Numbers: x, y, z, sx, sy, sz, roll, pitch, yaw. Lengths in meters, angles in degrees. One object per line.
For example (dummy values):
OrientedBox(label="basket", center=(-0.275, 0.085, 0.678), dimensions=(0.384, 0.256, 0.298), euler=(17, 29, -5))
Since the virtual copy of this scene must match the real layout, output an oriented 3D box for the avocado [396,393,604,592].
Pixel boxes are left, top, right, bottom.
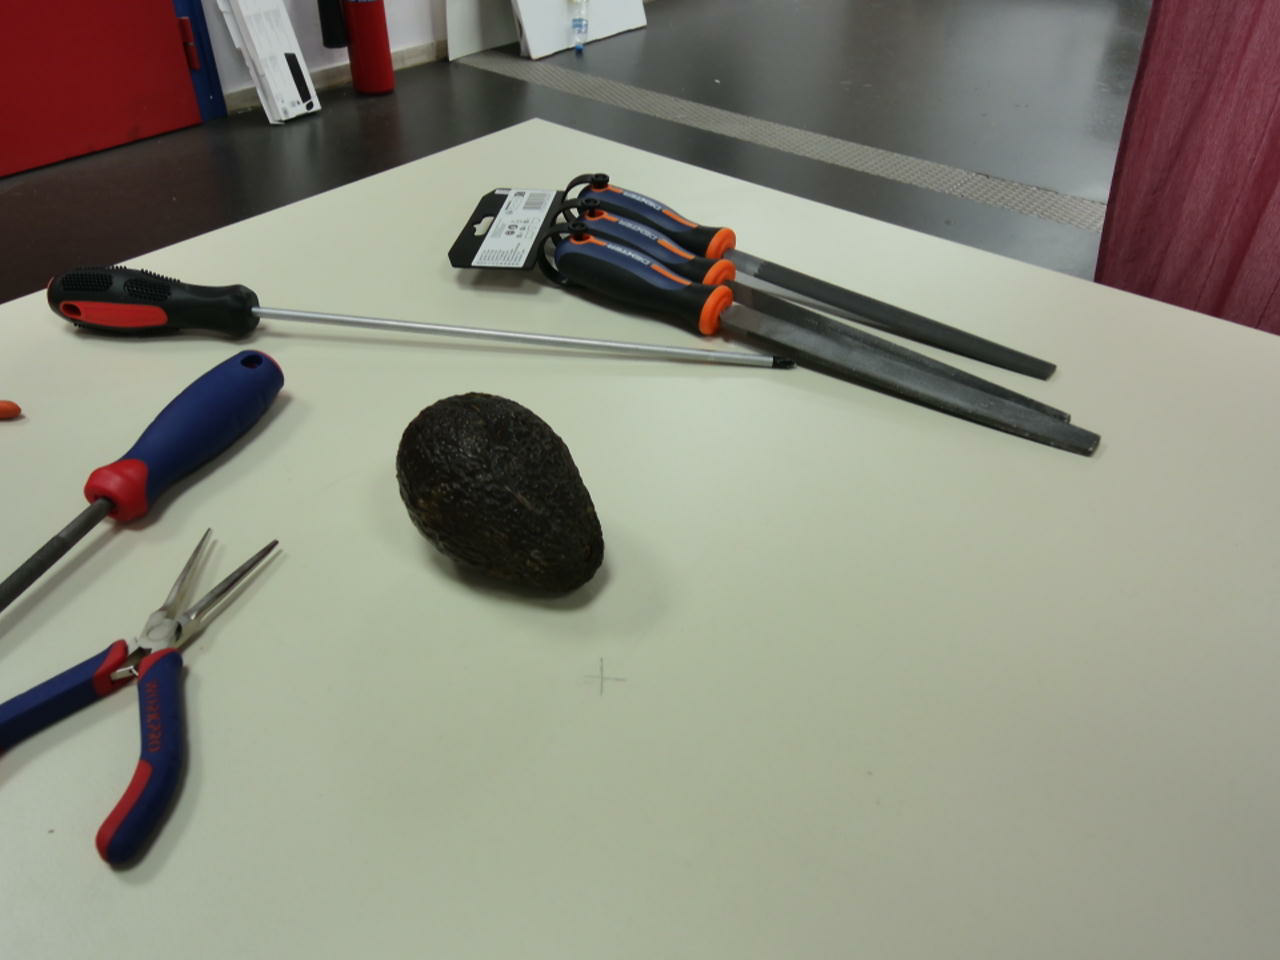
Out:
OrientedBox(label="avocado", center=(-0.059, 0.004, 0.403), dimensions=(0.070, 0.069, 0.090), euler=(-16, 39, -22))
